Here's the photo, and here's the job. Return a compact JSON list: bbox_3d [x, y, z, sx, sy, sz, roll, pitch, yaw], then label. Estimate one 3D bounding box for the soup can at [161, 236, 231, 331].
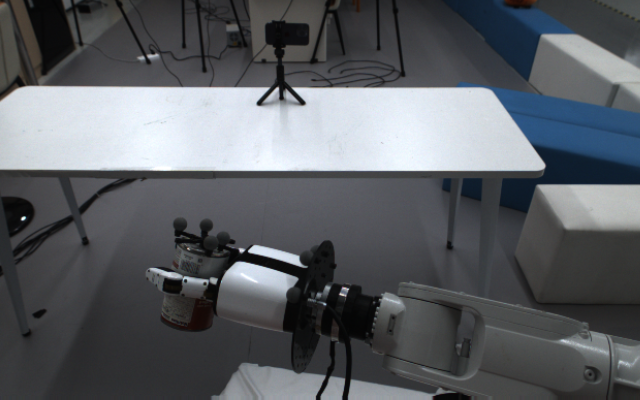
[{"bbox_3d":[-0.156,0.106,0.611,0.067,0.101,0.067,15,7,-2],"label":"soup can"}]
